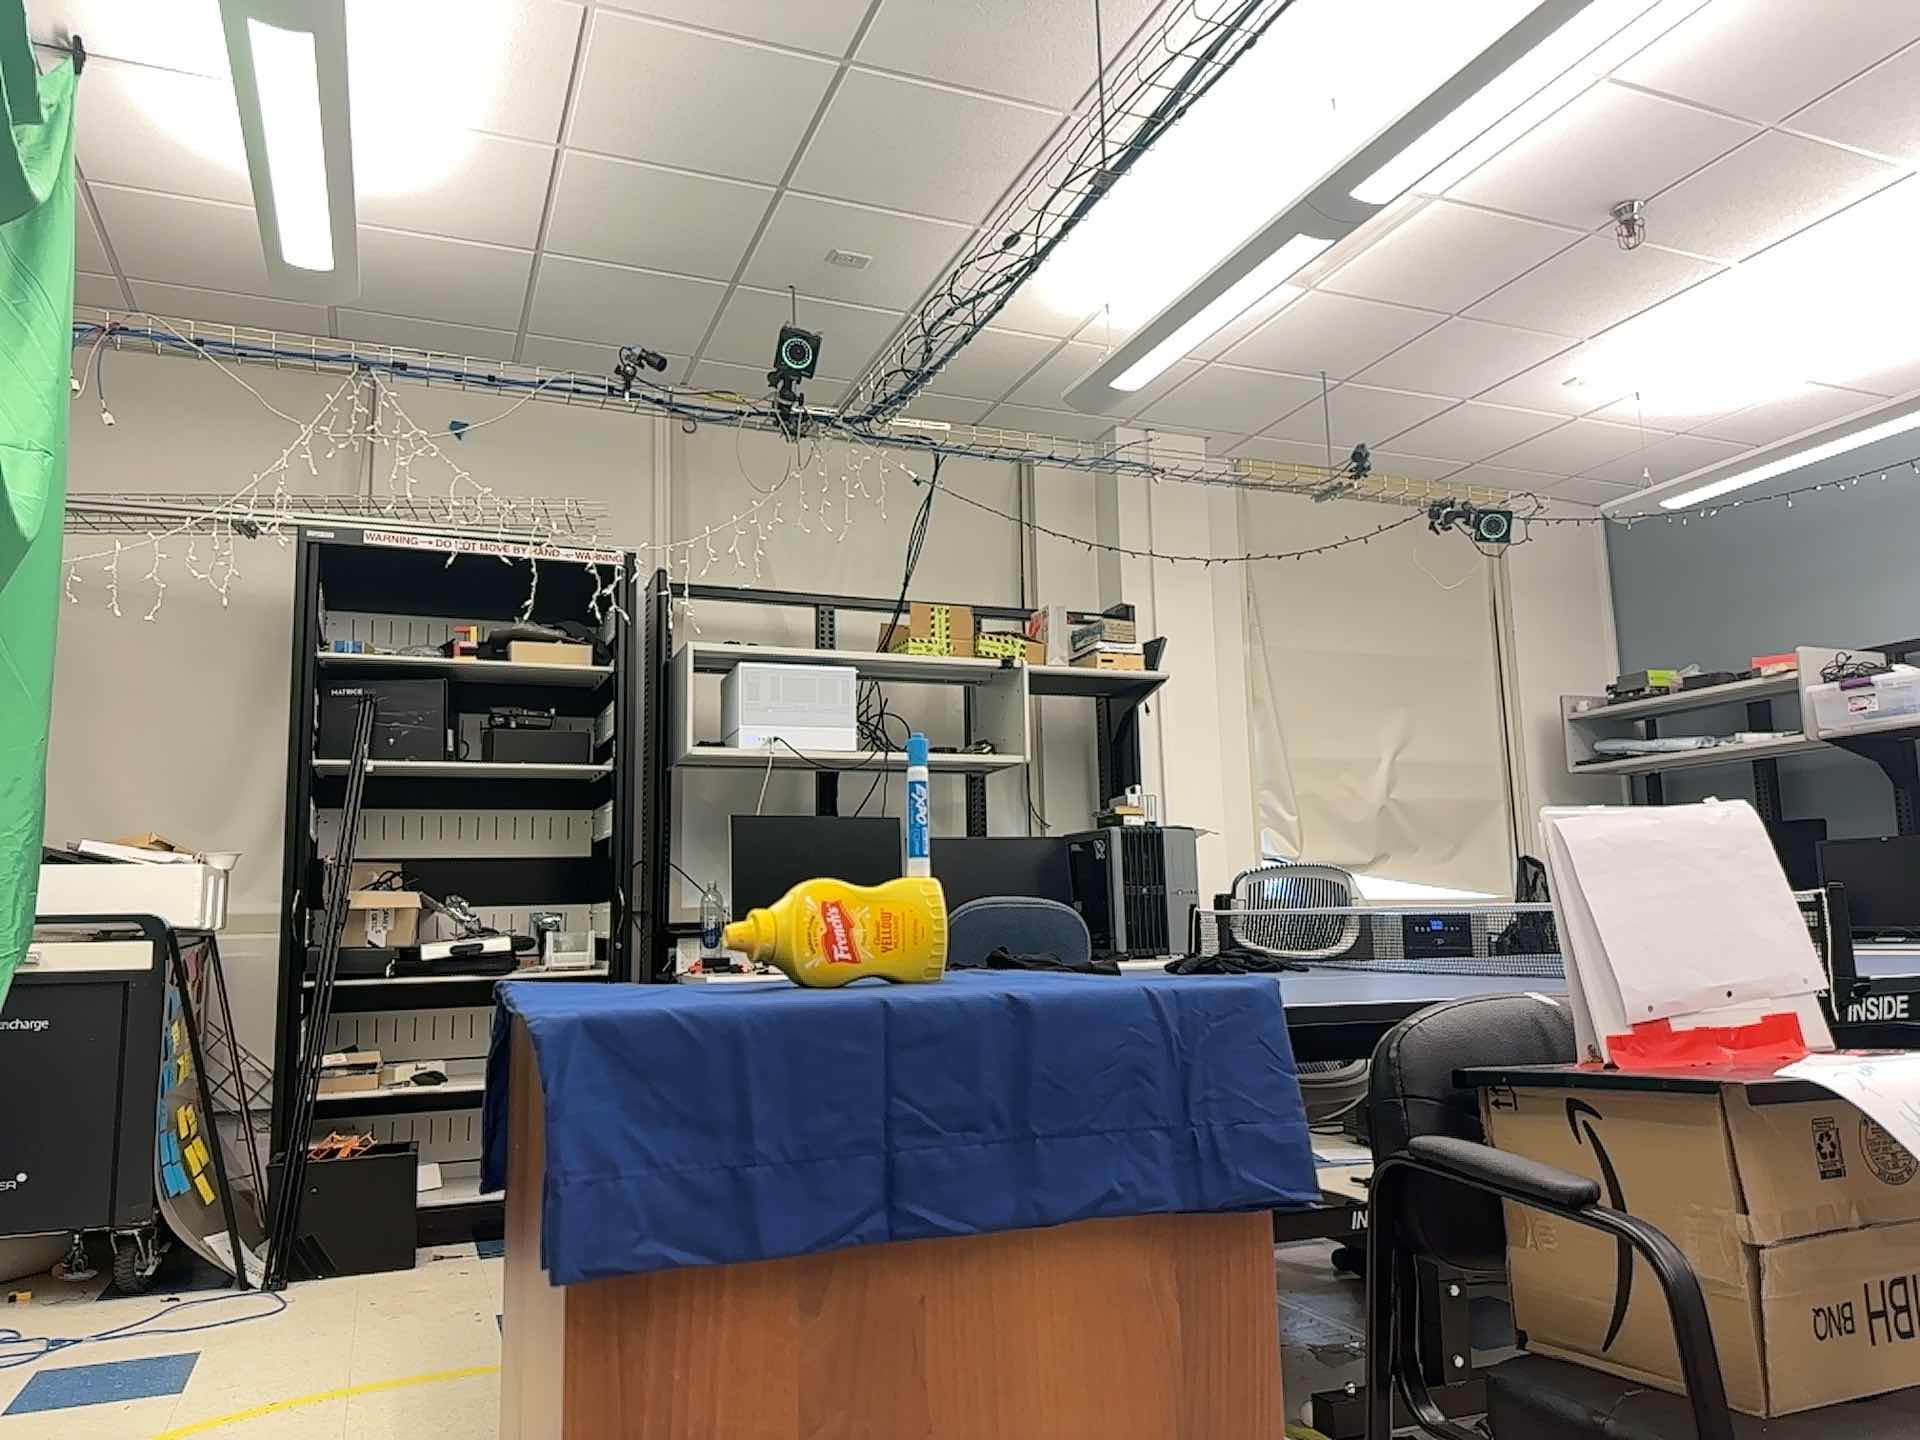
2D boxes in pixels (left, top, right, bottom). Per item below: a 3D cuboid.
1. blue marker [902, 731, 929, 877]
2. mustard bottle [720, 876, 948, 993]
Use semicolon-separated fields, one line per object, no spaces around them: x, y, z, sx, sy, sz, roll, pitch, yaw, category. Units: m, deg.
-0.038;0.069;1.120;0.020;0.121;0.020;-2;-9;0;blue marker
-0.102;0.171;1.071;0.184;0.092;0.054;3;-2;-28;mustard bottle
